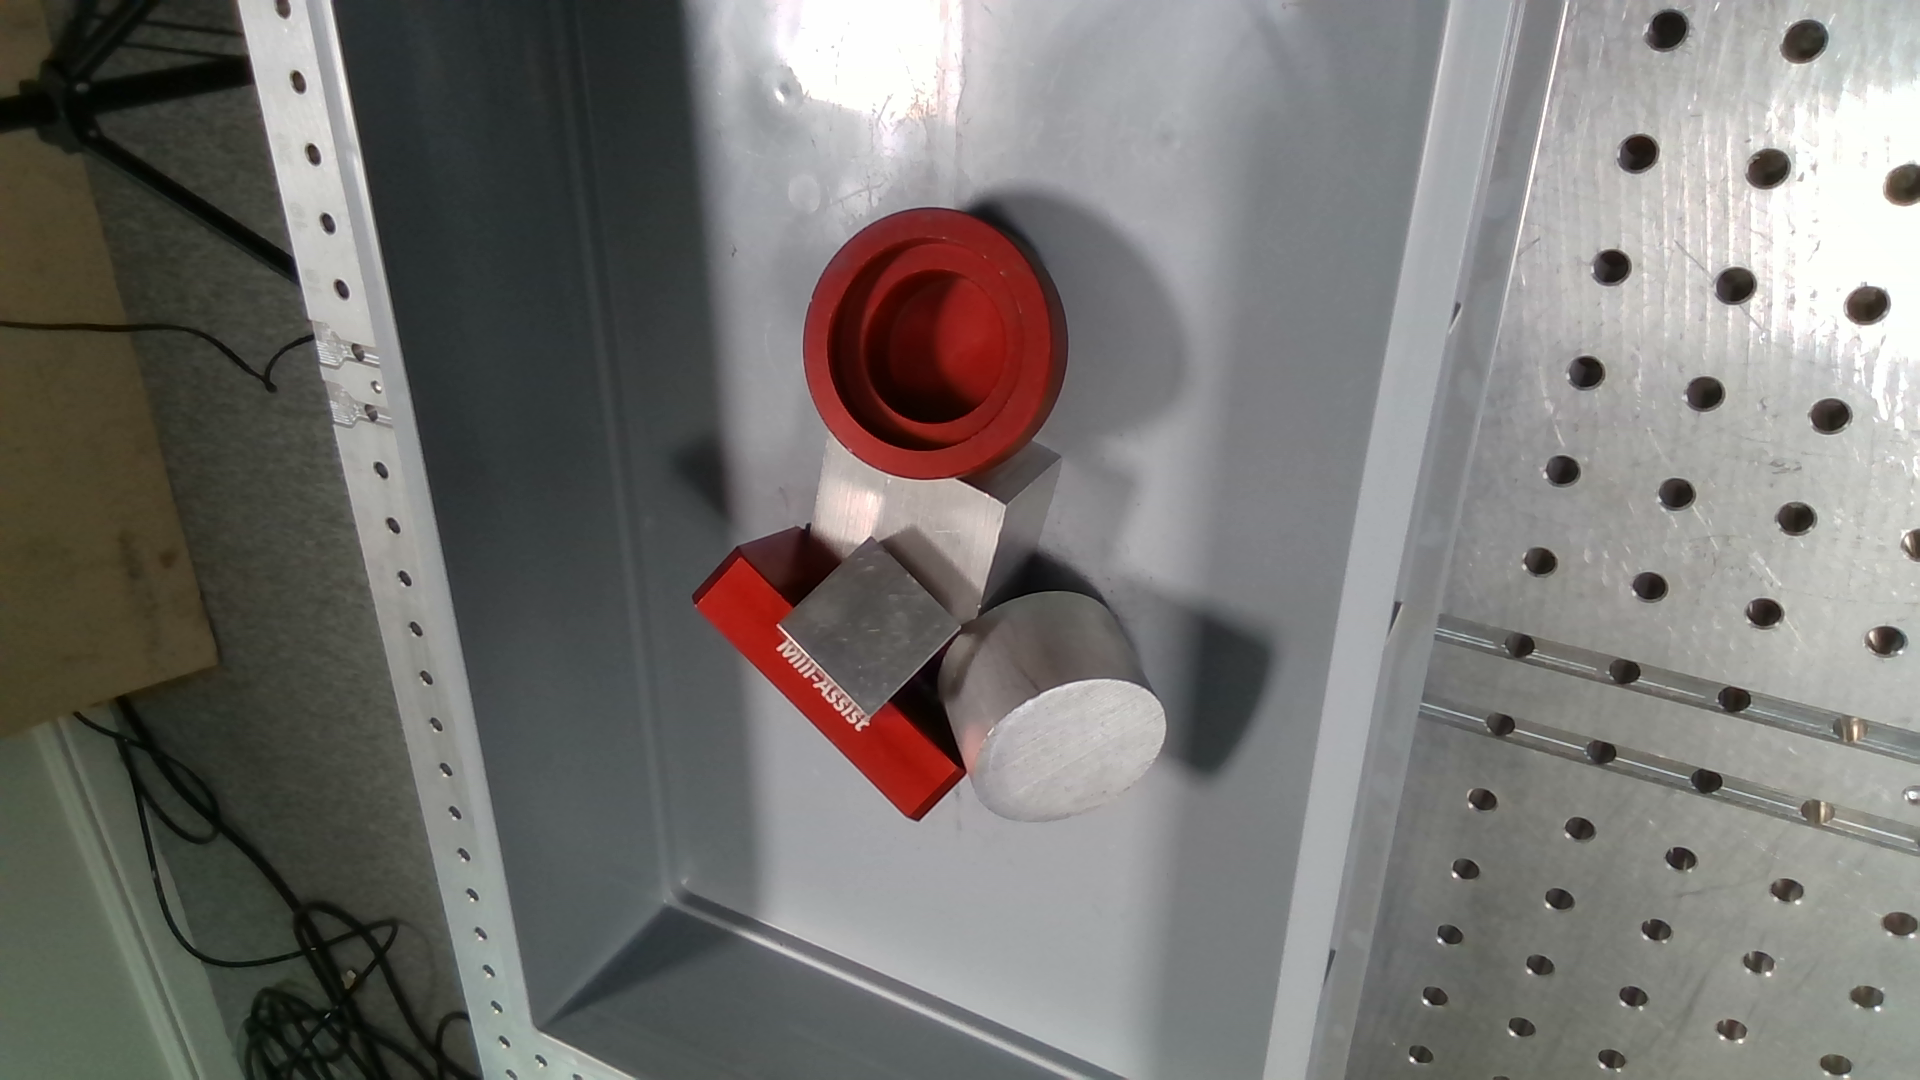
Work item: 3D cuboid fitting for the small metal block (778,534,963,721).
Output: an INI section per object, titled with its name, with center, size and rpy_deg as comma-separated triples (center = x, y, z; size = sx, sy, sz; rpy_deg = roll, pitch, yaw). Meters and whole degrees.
[small metal block]
center = -0.035, 0.035, 0.536
size = 0.050, 0.050, 0.025
rpy_deg = 45, 168, 3

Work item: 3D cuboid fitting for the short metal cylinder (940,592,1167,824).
[short metal cylinder]
center = 0.036, 0.067, 0.550
size = 0.050, 0.080, 0.080
rpy_deg = -114, 32, -47

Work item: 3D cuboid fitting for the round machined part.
[round machined part]
center = -0.006, -0.072, 0.517
size = 0.098, 0.042, 0.098
rpy_deg = 2, 95, 21

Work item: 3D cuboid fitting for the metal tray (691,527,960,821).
[metal tray]
center = -0.046, 0.053, 0.592
size = 0.130, 0.090, 0.030
rpy_deg = 44, 102, 3

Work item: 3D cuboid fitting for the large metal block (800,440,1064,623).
[large metal block]
center = -0.013, -0.009, 0.566
size = 0.080, 0.050, 0.080
rpy_deg = 27, 126, 17
